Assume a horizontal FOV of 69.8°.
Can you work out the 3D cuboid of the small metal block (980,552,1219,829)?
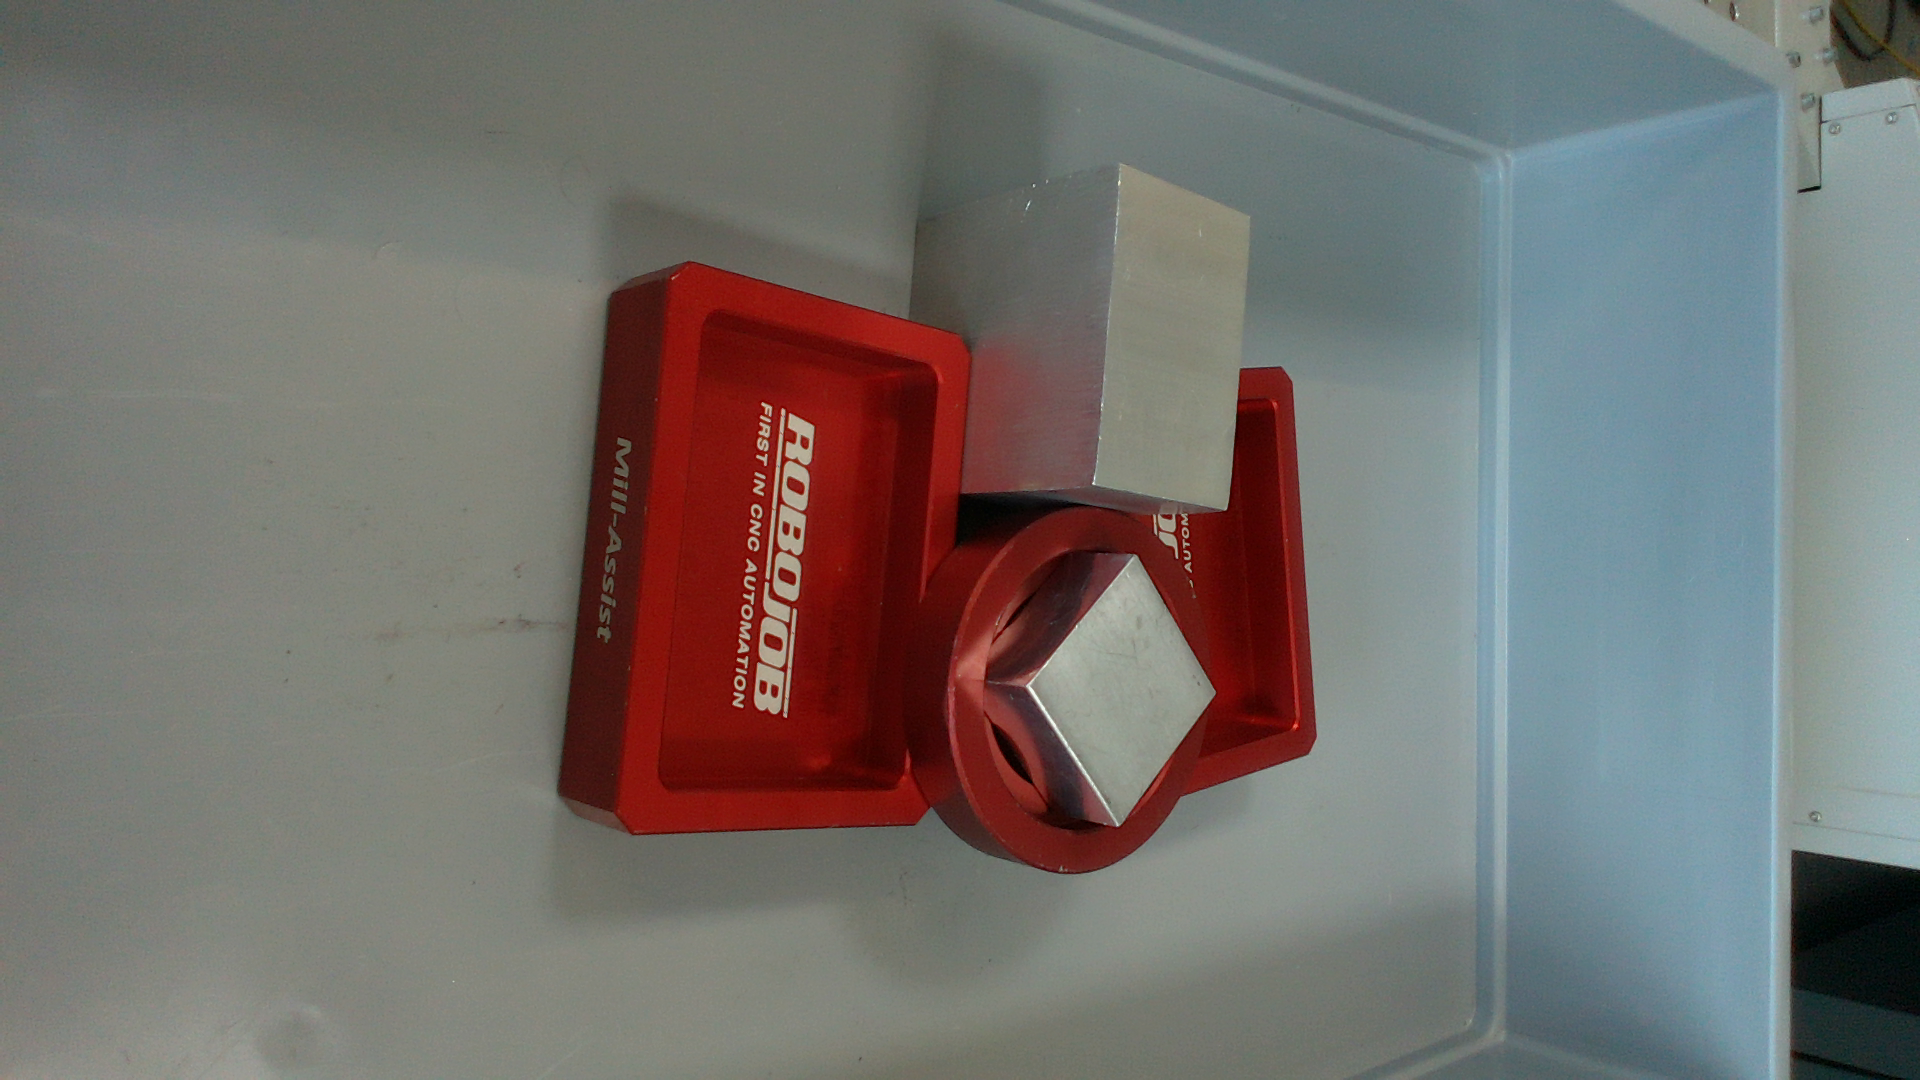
[{"bbox_3d":[0.036,0.038,0.362,0.050,0.025,0.050,-47,118,-30],"label":"small metal block"}]

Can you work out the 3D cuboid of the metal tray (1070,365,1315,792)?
[{"bbox_3d":[0.072,0.012,0.443,0.090,0.030,0.130,-8,95,-40],"label":"metal tray"}]

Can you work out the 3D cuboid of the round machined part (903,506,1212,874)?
[{"bbox_3d":[0.023,0.040,0.383,0.098,0.042,0.098,0,90,-40],"label":"round machined part"}]

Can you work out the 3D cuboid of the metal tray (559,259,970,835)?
[{"bbox_3d":[-0.046,0.005,0.345,0.090,0.030,0.130,8,85,-40],"label":"metal tray"}]

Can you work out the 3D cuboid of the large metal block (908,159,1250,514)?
[{"bbox_3d":[0.029,-0.049,0.375,0.050,0.080,0.080,8,85,-39],"label":"large metal block"}]
